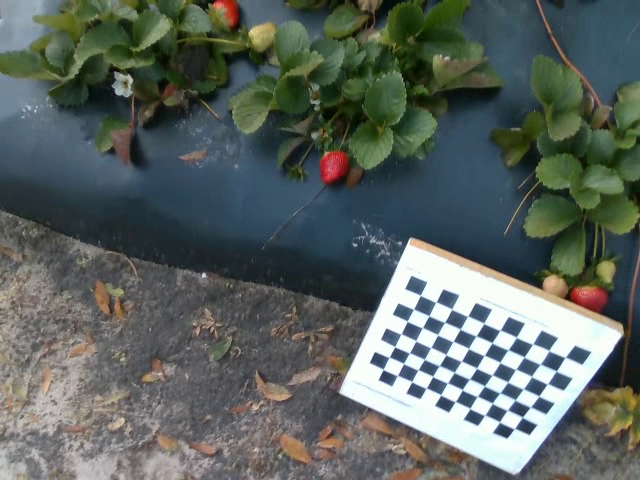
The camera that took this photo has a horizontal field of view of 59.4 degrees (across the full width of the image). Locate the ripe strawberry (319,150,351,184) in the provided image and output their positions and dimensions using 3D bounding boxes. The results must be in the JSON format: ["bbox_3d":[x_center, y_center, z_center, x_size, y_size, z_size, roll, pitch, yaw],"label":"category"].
[{"bbox_3d":[0.015,-0.103,0.825,0.050,0.049,0.053,15,46,7],"label":"ripe strawberry"}]
